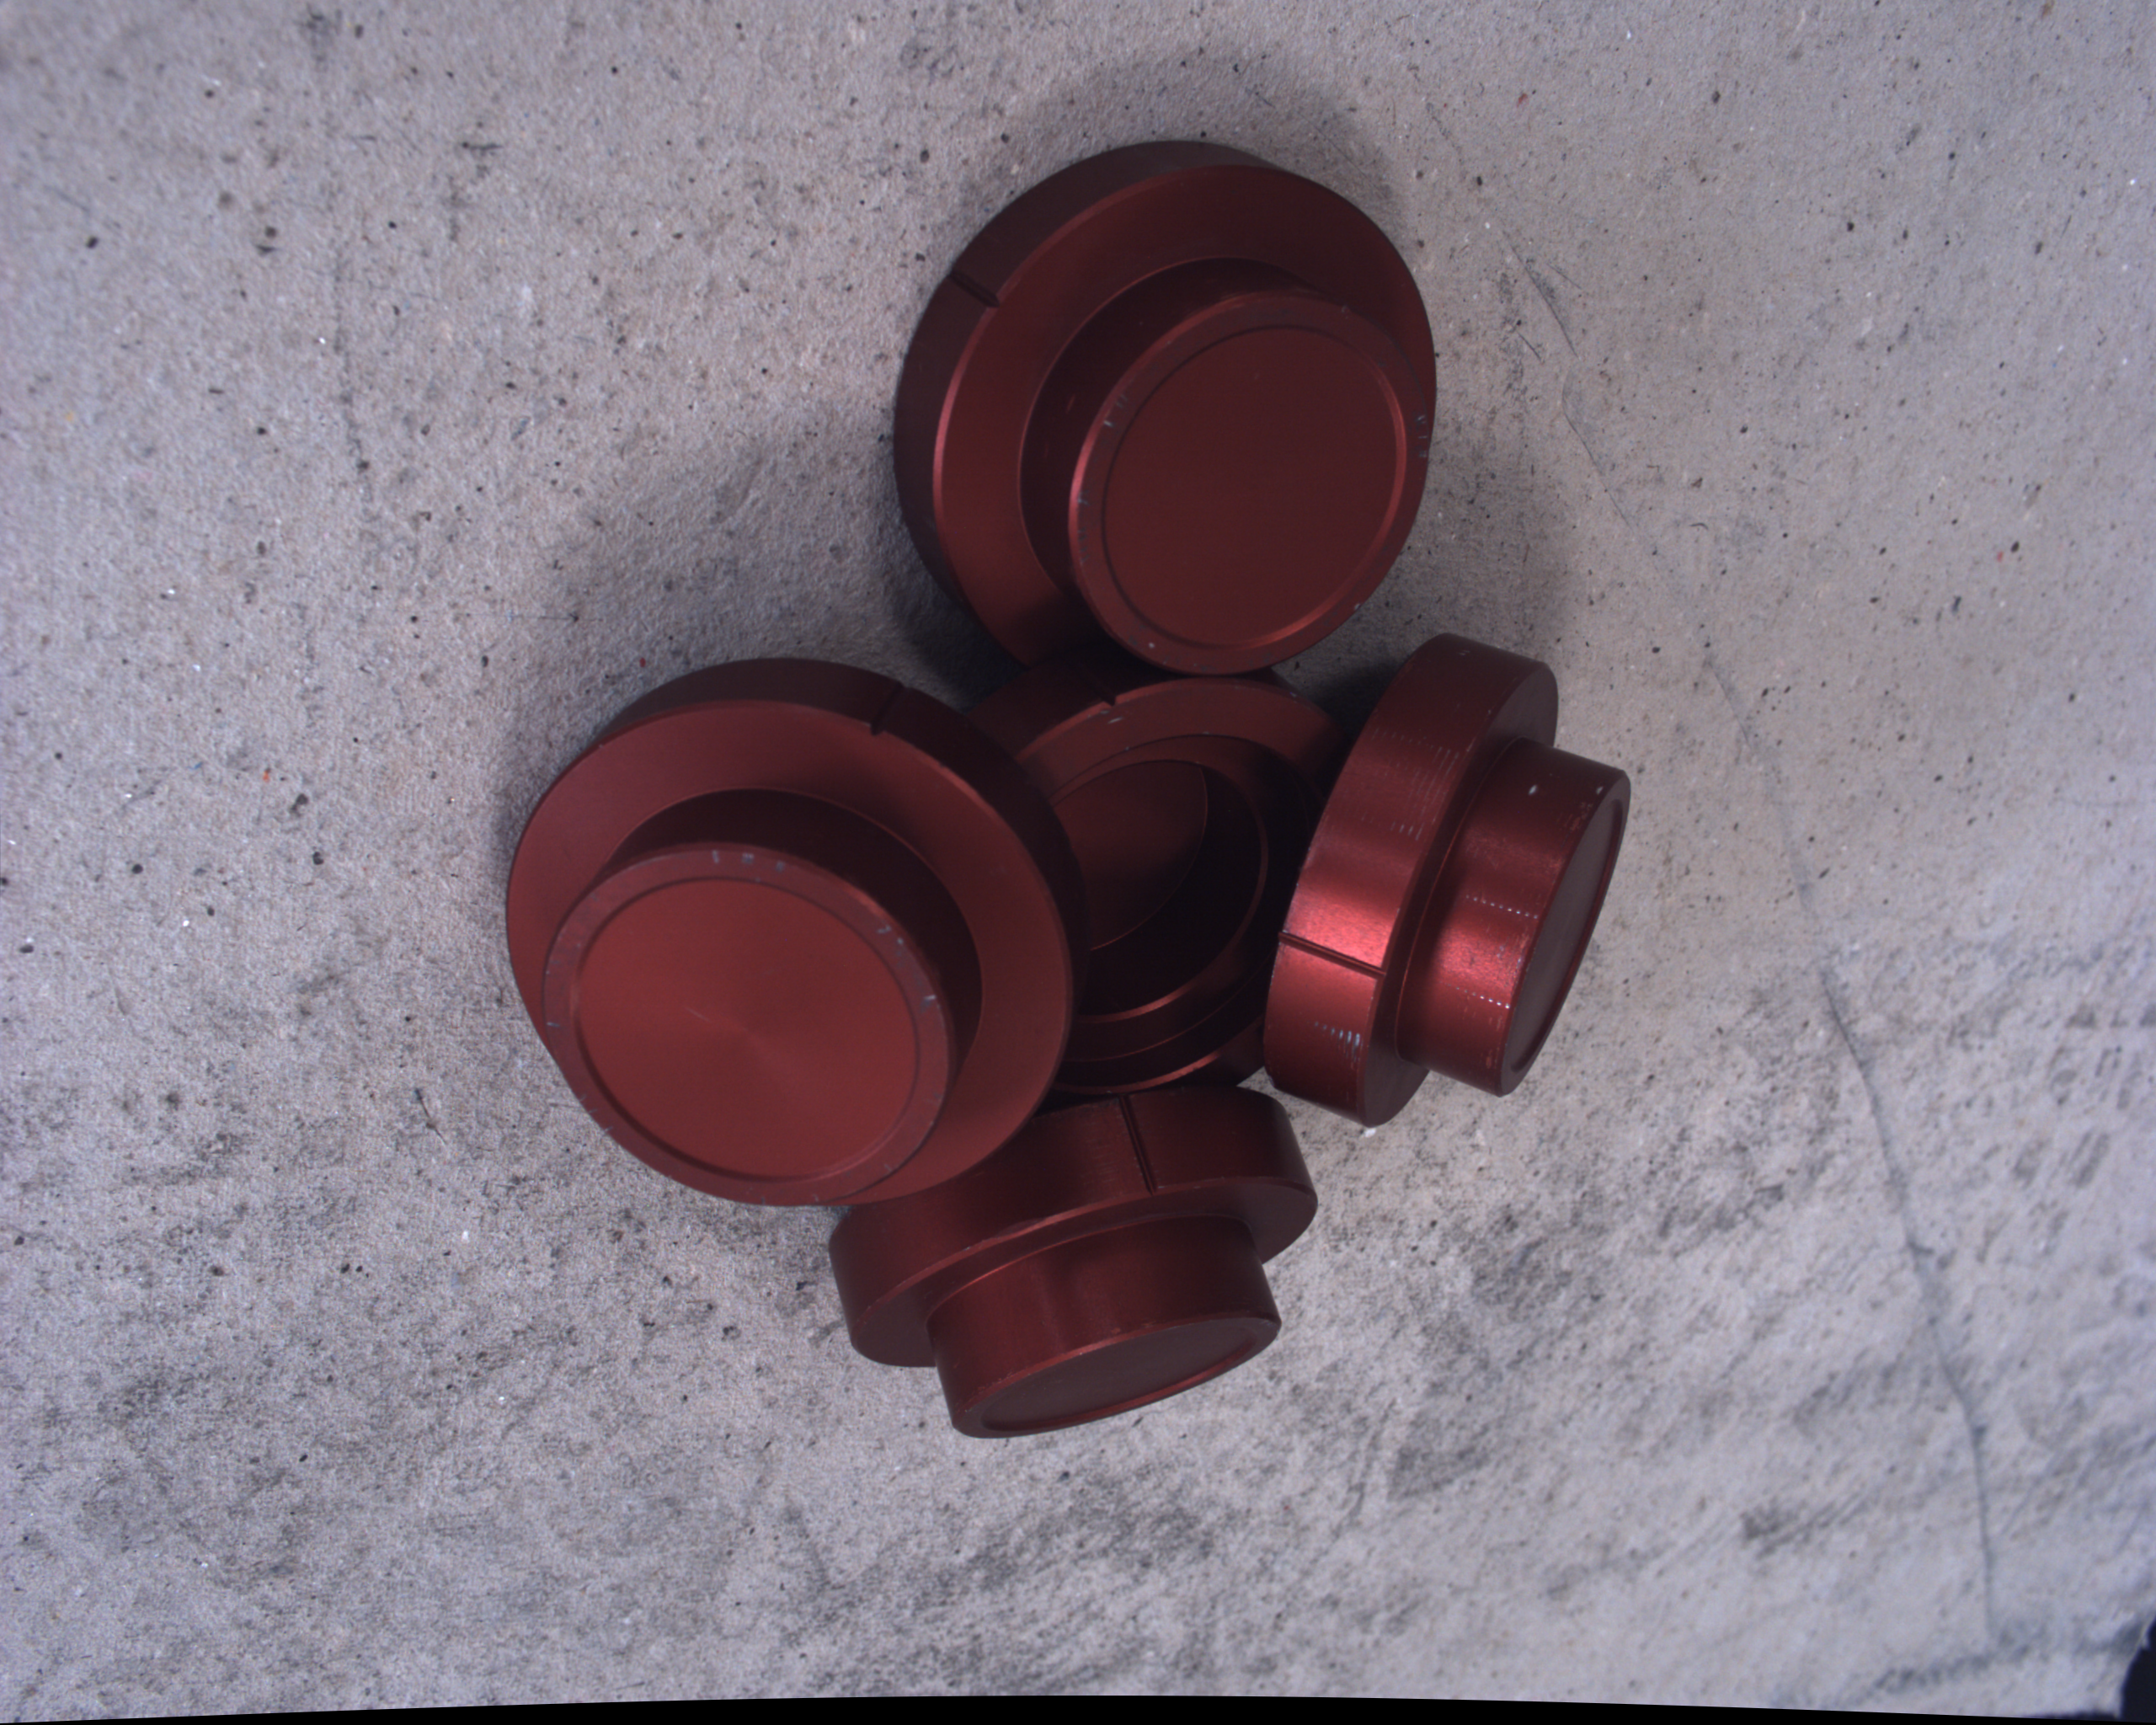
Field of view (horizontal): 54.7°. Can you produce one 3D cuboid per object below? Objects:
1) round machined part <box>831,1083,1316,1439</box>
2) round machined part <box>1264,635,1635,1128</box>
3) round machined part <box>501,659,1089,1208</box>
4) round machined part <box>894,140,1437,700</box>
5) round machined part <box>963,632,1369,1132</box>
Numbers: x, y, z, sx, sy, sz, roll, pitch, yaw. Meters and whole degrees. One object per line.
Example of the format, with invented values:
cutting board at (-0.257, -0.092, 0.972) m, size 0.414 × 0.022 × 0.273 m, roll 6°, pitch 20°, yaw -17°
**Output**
round machined part at (0.002, 0.085, 0.423) m, size 0.099 × 0.042 × 0.098 m, roll -15°, pitch 154°, yaw -7°
round machined part at (0.077, 0.008, 0.411) m, size 0.098 × 0.042 × 0.097 m, roll -50°, pitch 151°, yaw -39°
round machined part at (-0.050, 0.019, 0.350) m, size 0.098 × 0.042 × 0.097 m, roll 4°, pitch 118°, yaw 7°
round machined part at (0.021, -0.072, 0.364) m, size 0.099 × 0.042 × 0.097 m, roll -13°, pitch 123°, yaw -21°
round machined part at (0.007, 0.001, 0.401) m, size 0.099 × 0.042 × 0.097 m, roll -12°, pitch 122°, yaw -20°
